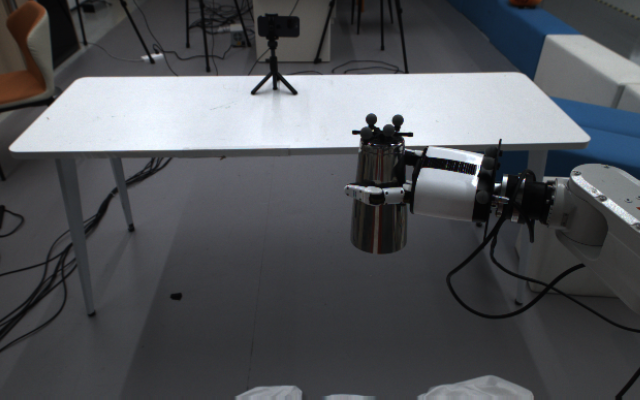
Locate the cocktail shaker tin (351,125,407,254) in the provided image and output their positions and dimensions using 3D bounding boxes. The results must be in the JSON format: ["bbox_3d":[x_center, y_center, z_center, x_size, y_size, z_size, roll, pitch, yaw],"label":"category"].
[{"bbox_3d":[0.095,-0.015,0.747,0.093,0.170,0.093,-1,26,1],"label":"cocktail shaker tin"}]
